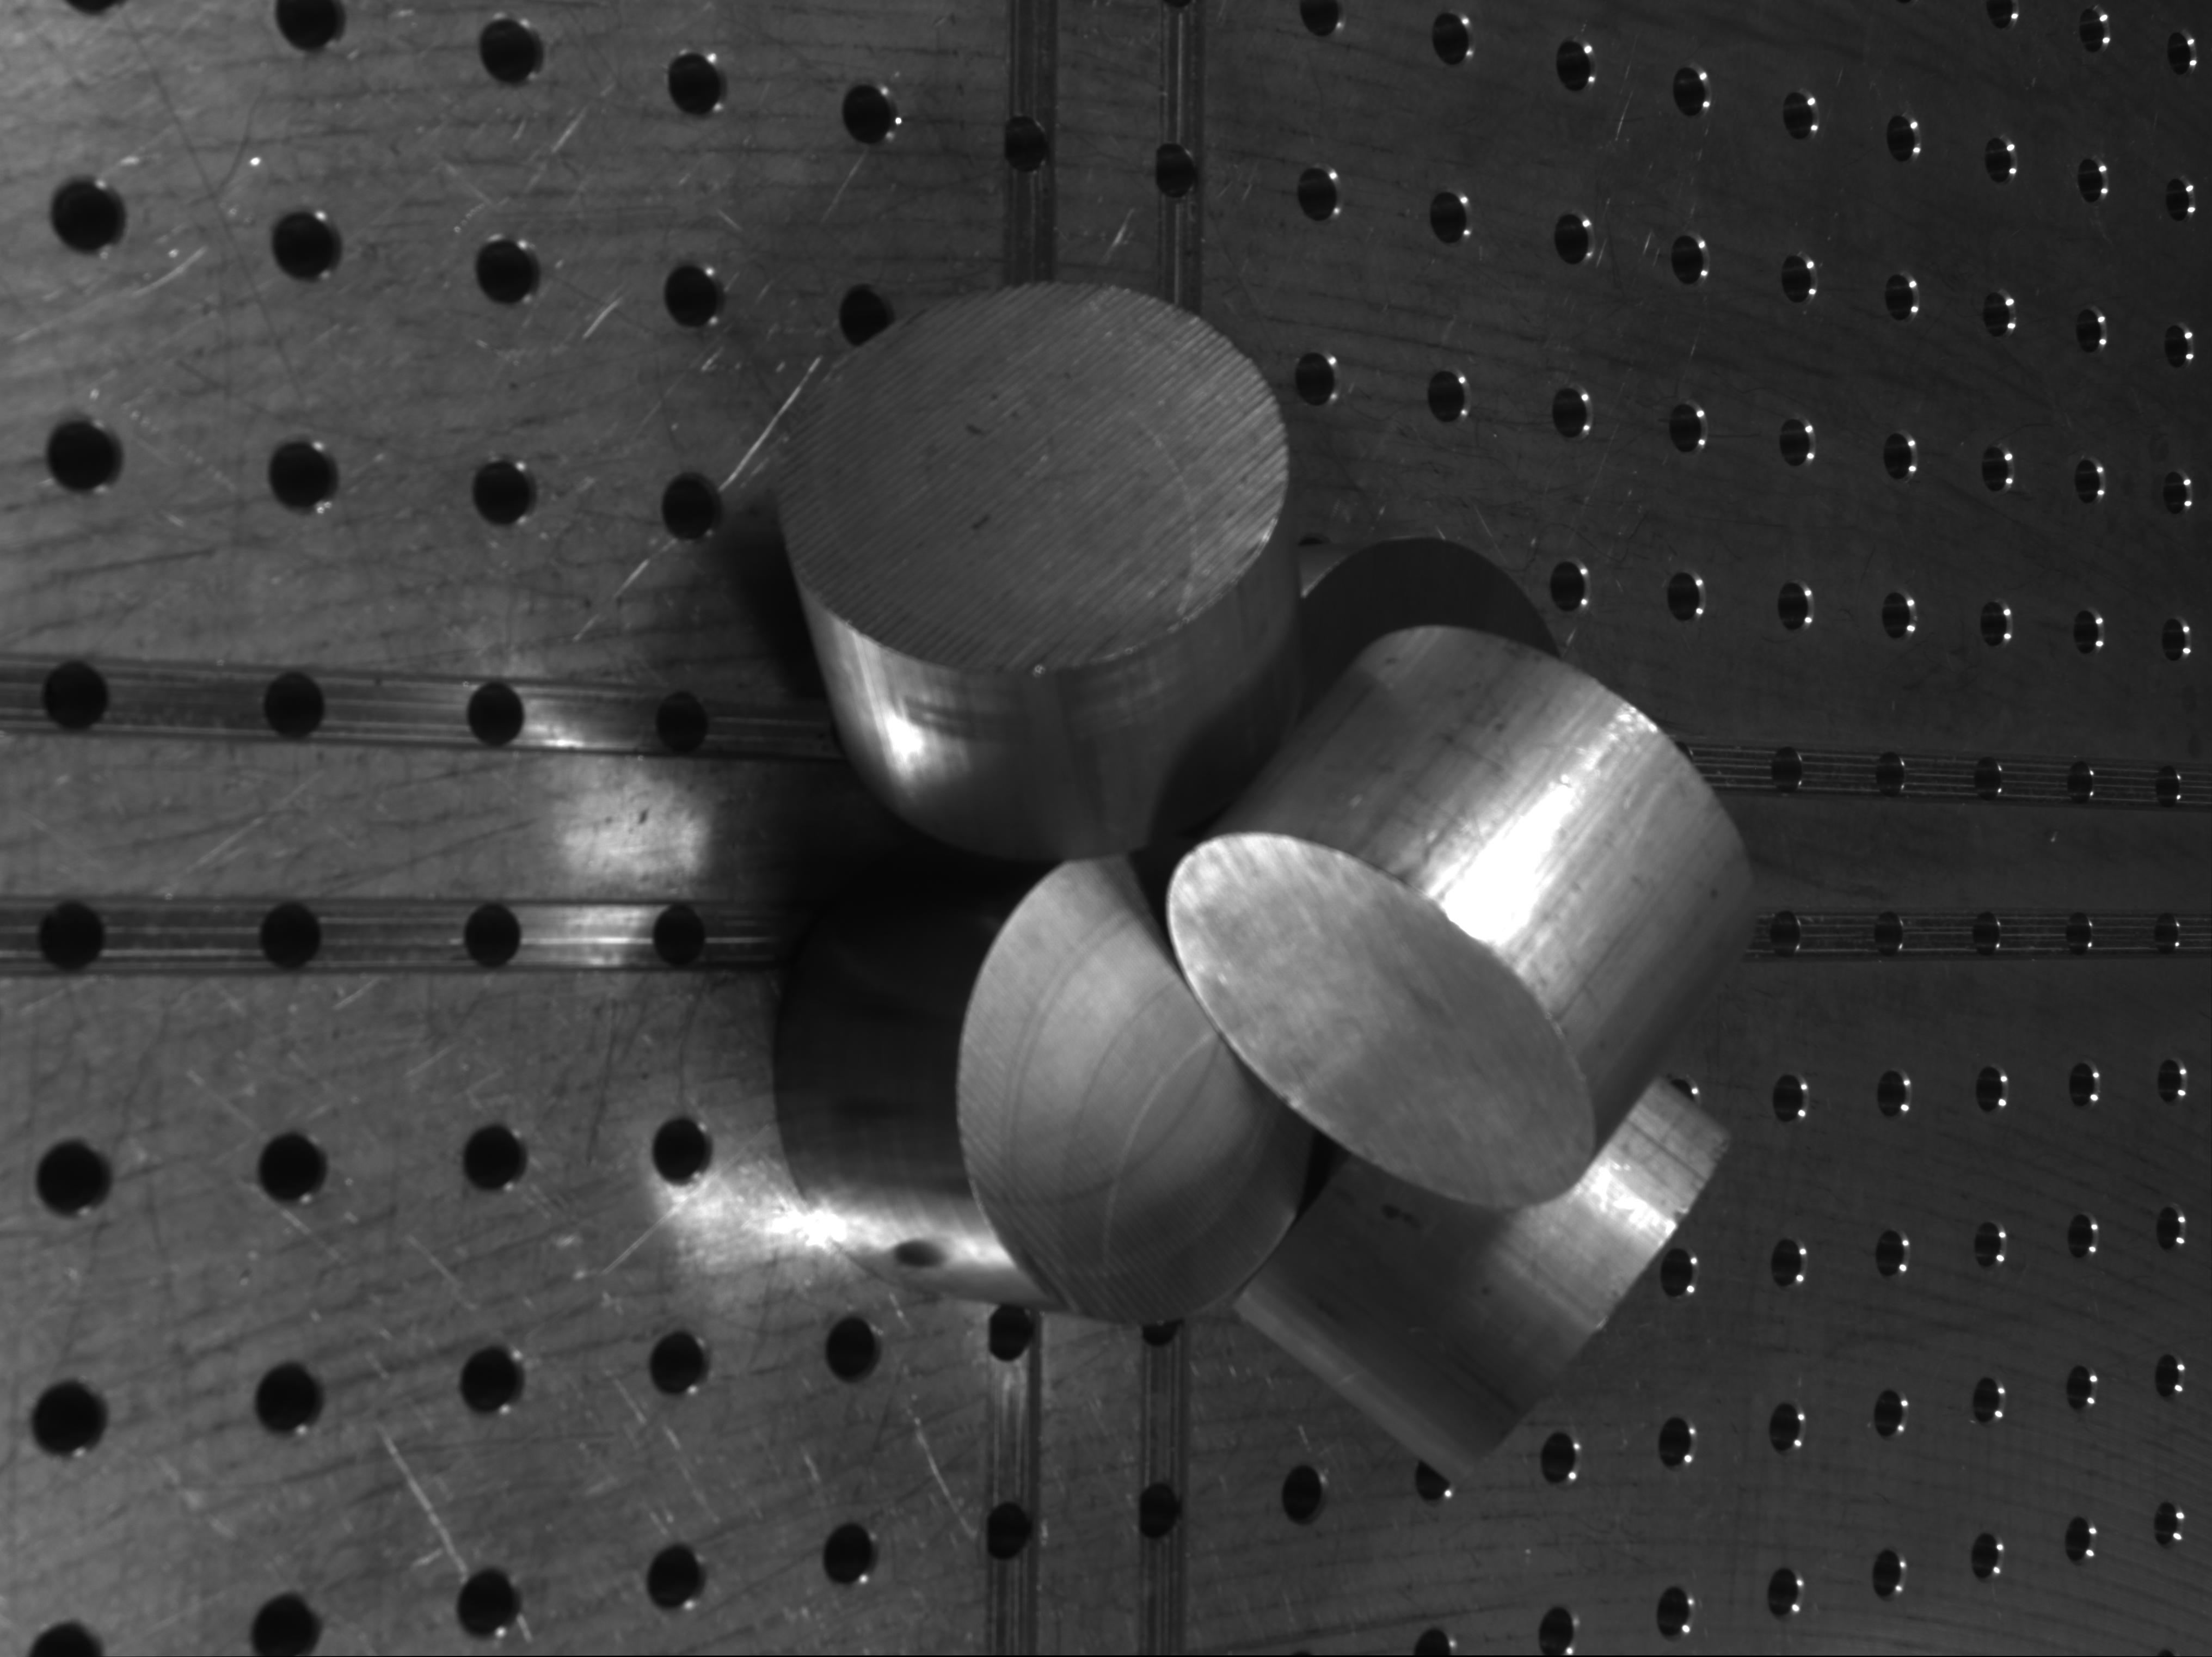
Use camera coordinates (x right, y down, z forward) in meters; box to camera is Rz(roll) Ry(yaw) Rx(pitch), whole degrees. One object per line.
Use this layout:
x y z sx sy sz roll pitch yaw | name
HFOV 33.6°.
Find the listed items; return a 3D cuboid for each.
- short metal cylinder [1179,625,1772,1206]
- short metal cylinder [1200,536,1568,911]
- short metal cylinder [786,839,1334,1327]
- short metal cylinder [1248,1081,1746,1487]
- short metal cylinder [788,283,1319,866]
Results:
0.059 0.014 0.587 0.050 0.080 0.080 -49 119 -29 | short metal cylinder
0.041 -0.011 0.658 0.080 0.050 0.080 0 90 -40 | short metal cylinder
-0.007 0.041 0.618 0.080 0.050 0.080 0 90 -40 | short metal cylinder
0.069 0.070 0.653 0.050 0.080 0.080 38 61 6 | short metal cylinder
-0.007 -0.041 0.590 0.080 0.080 0.050 -54 155 -26 | short metal cylinder
